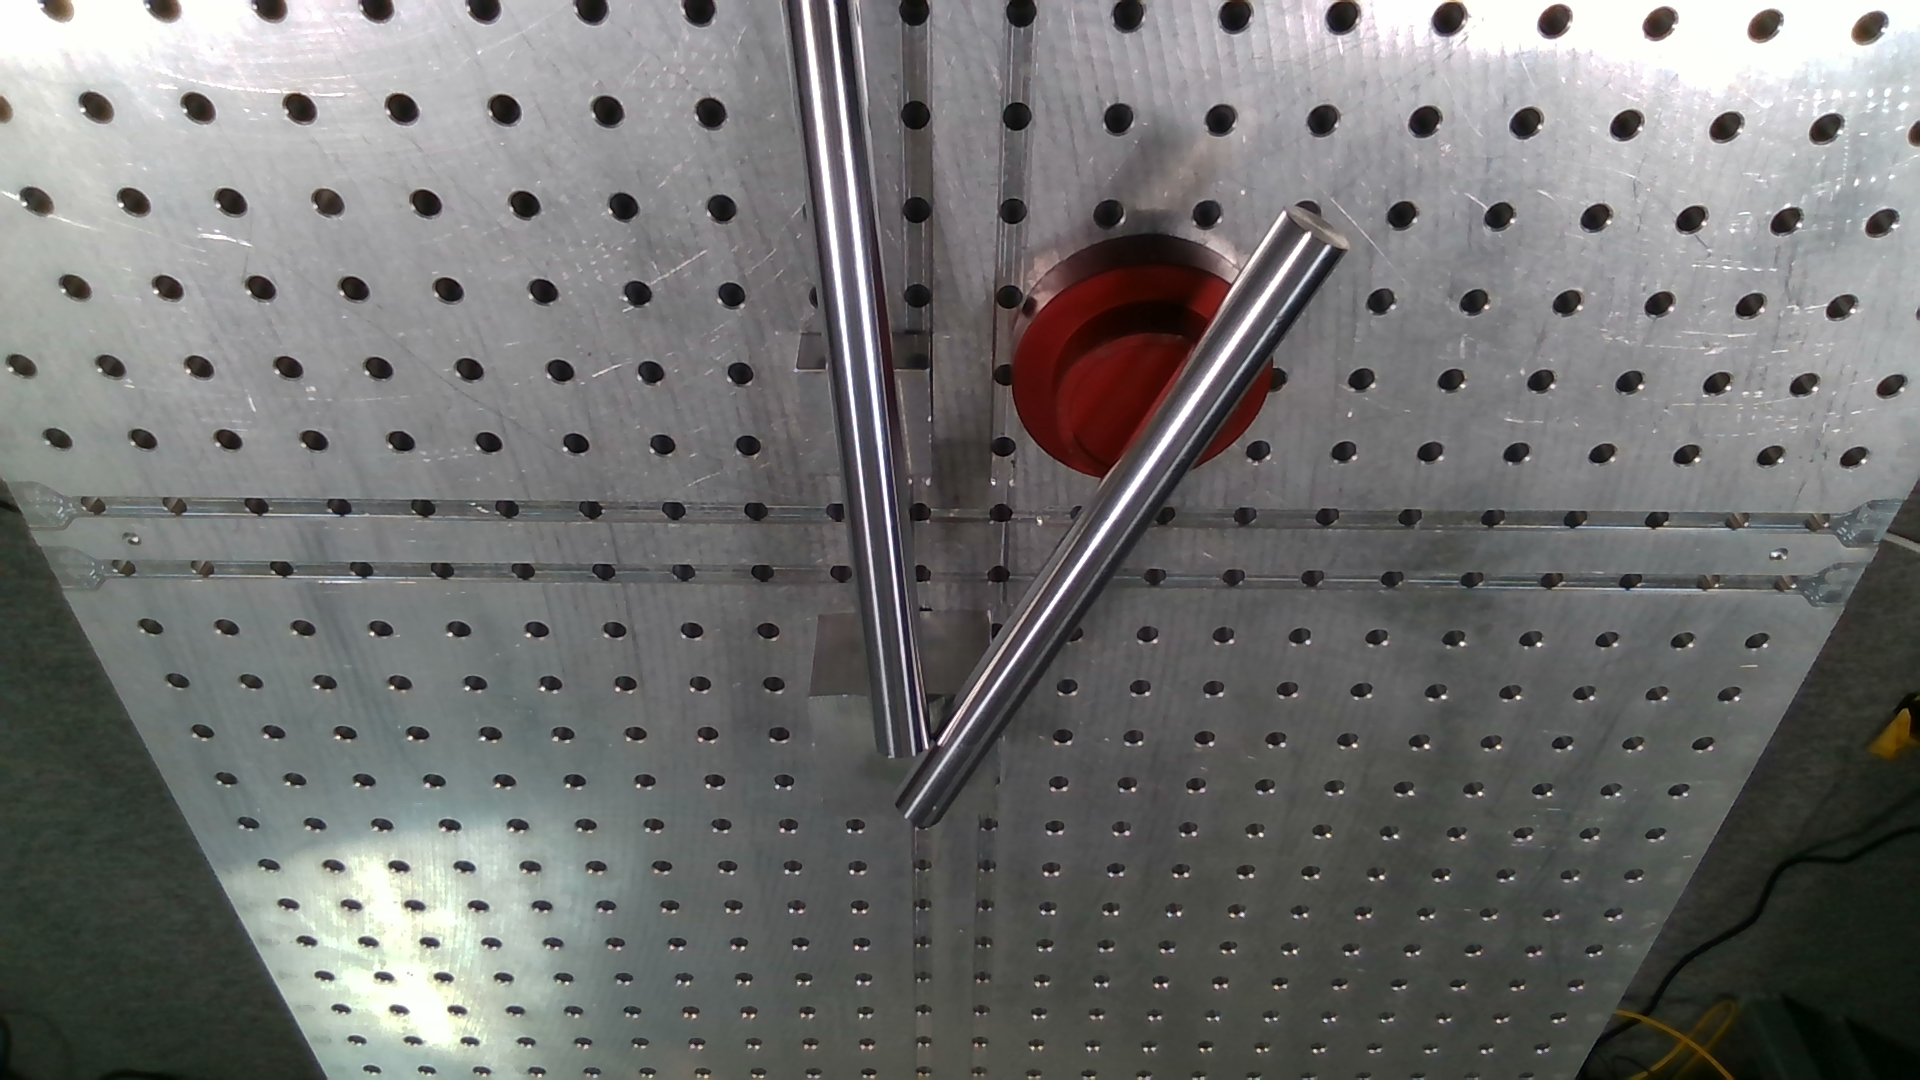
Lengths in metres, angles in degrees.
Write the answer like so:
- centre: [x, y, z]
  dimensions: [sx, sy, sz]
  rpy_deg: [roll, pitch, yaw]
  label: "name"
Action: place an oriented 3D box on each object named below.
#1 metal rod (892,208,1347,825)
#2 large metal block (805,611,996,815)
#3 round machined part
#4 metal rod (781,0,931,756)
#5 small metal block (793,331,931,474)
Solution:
- centre: [0.048, 0.008, 0.526]
  dimensions: [0.025, 0.025, 0.301]
  rpy_deg: [21, 124, -17]
  label: "metal rod"
- centre: [-0.025, 0.080, 0.629]
  dimensions: [0.080, 0.050, 0.080]
  rpy_deg: [-2, 130, 1]
  label: "large metal block"
- centre: [0.068, -0.061, 0.519]
  dimensions: [0.098, 0.042, 0.098]
  rpy_deg: [0, 130, 0]
  label: "round machined part"
- centre: [-0.035, -0.047, 0.507]
  dimensions: [0.025, 0.025, 0.301]
  rpy_deg: [-3, 120, 2]
  label: "metal rod"
- centre: [-0.037, -0.053, 0.538]
  dimensions: [0.050, 0.025, 0.050]
  rpy_deg: [0, 130, 0]
  label: "small metal block"
